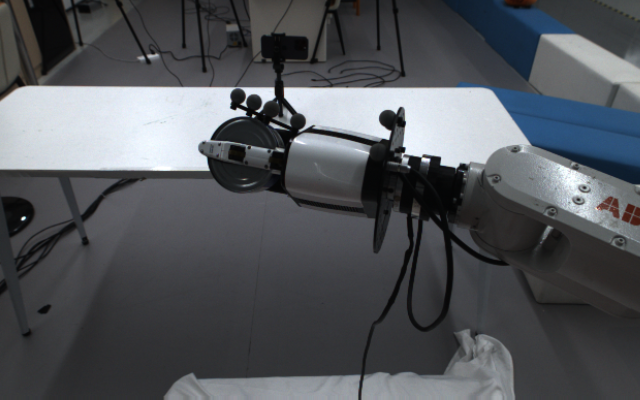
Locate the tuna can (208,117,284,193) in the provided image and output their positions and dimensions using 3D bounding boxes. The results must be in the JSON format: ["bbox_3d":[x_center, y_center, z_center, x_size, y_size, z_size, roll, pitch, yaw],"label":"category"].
[{"bbox_3d":[-0.081,-0.052,0.554,0.085,0.085,0.034,13,3,15],"label":"tuna can"}]
